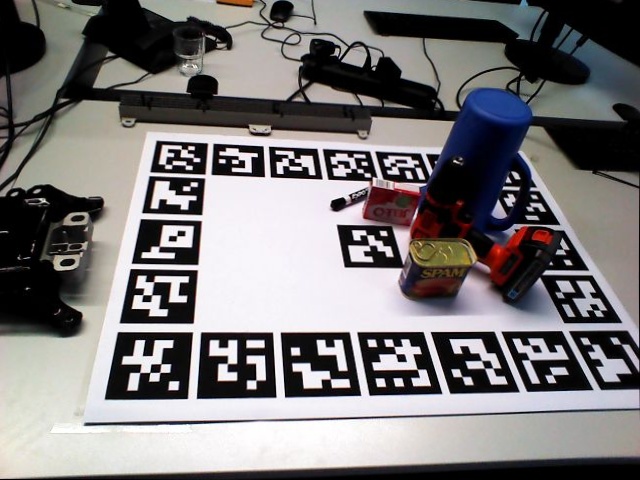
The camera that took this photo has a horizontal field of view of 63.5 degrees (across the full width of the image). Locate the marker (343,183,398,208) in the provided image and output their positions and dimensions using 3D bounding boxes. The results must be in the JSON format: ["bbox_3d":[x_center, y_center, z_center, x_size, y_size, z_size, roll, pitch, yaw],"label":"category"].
[{"bbox_3d":[0.096,-0.083,0.959,0.120,0.020,0.019,-19,53,-25],"label":"marker"}]

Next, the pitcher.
[{"bbox_3d":[0.310,-0.109,0.880,0.189,0.243,0.132,22,49,20],"label":"pitcher"}]

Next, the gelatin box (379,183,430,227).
[{"bbox_3d":[0.156,-0.058,0.912,0.089,0.074,0.030,11,49,-2],"label":"gelatin box"}]

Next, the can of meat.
[{"bbox_3d":[0.198,0.055,0.798,0.102,0.084,0.057,2,44,-9],"label":"can of meat"}]

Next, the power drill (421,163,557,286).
[{"bbox_3d":[0.266,-0.021,0.819,0.187,0.185,0.057,32,51,12],"label":"power drill"}]
